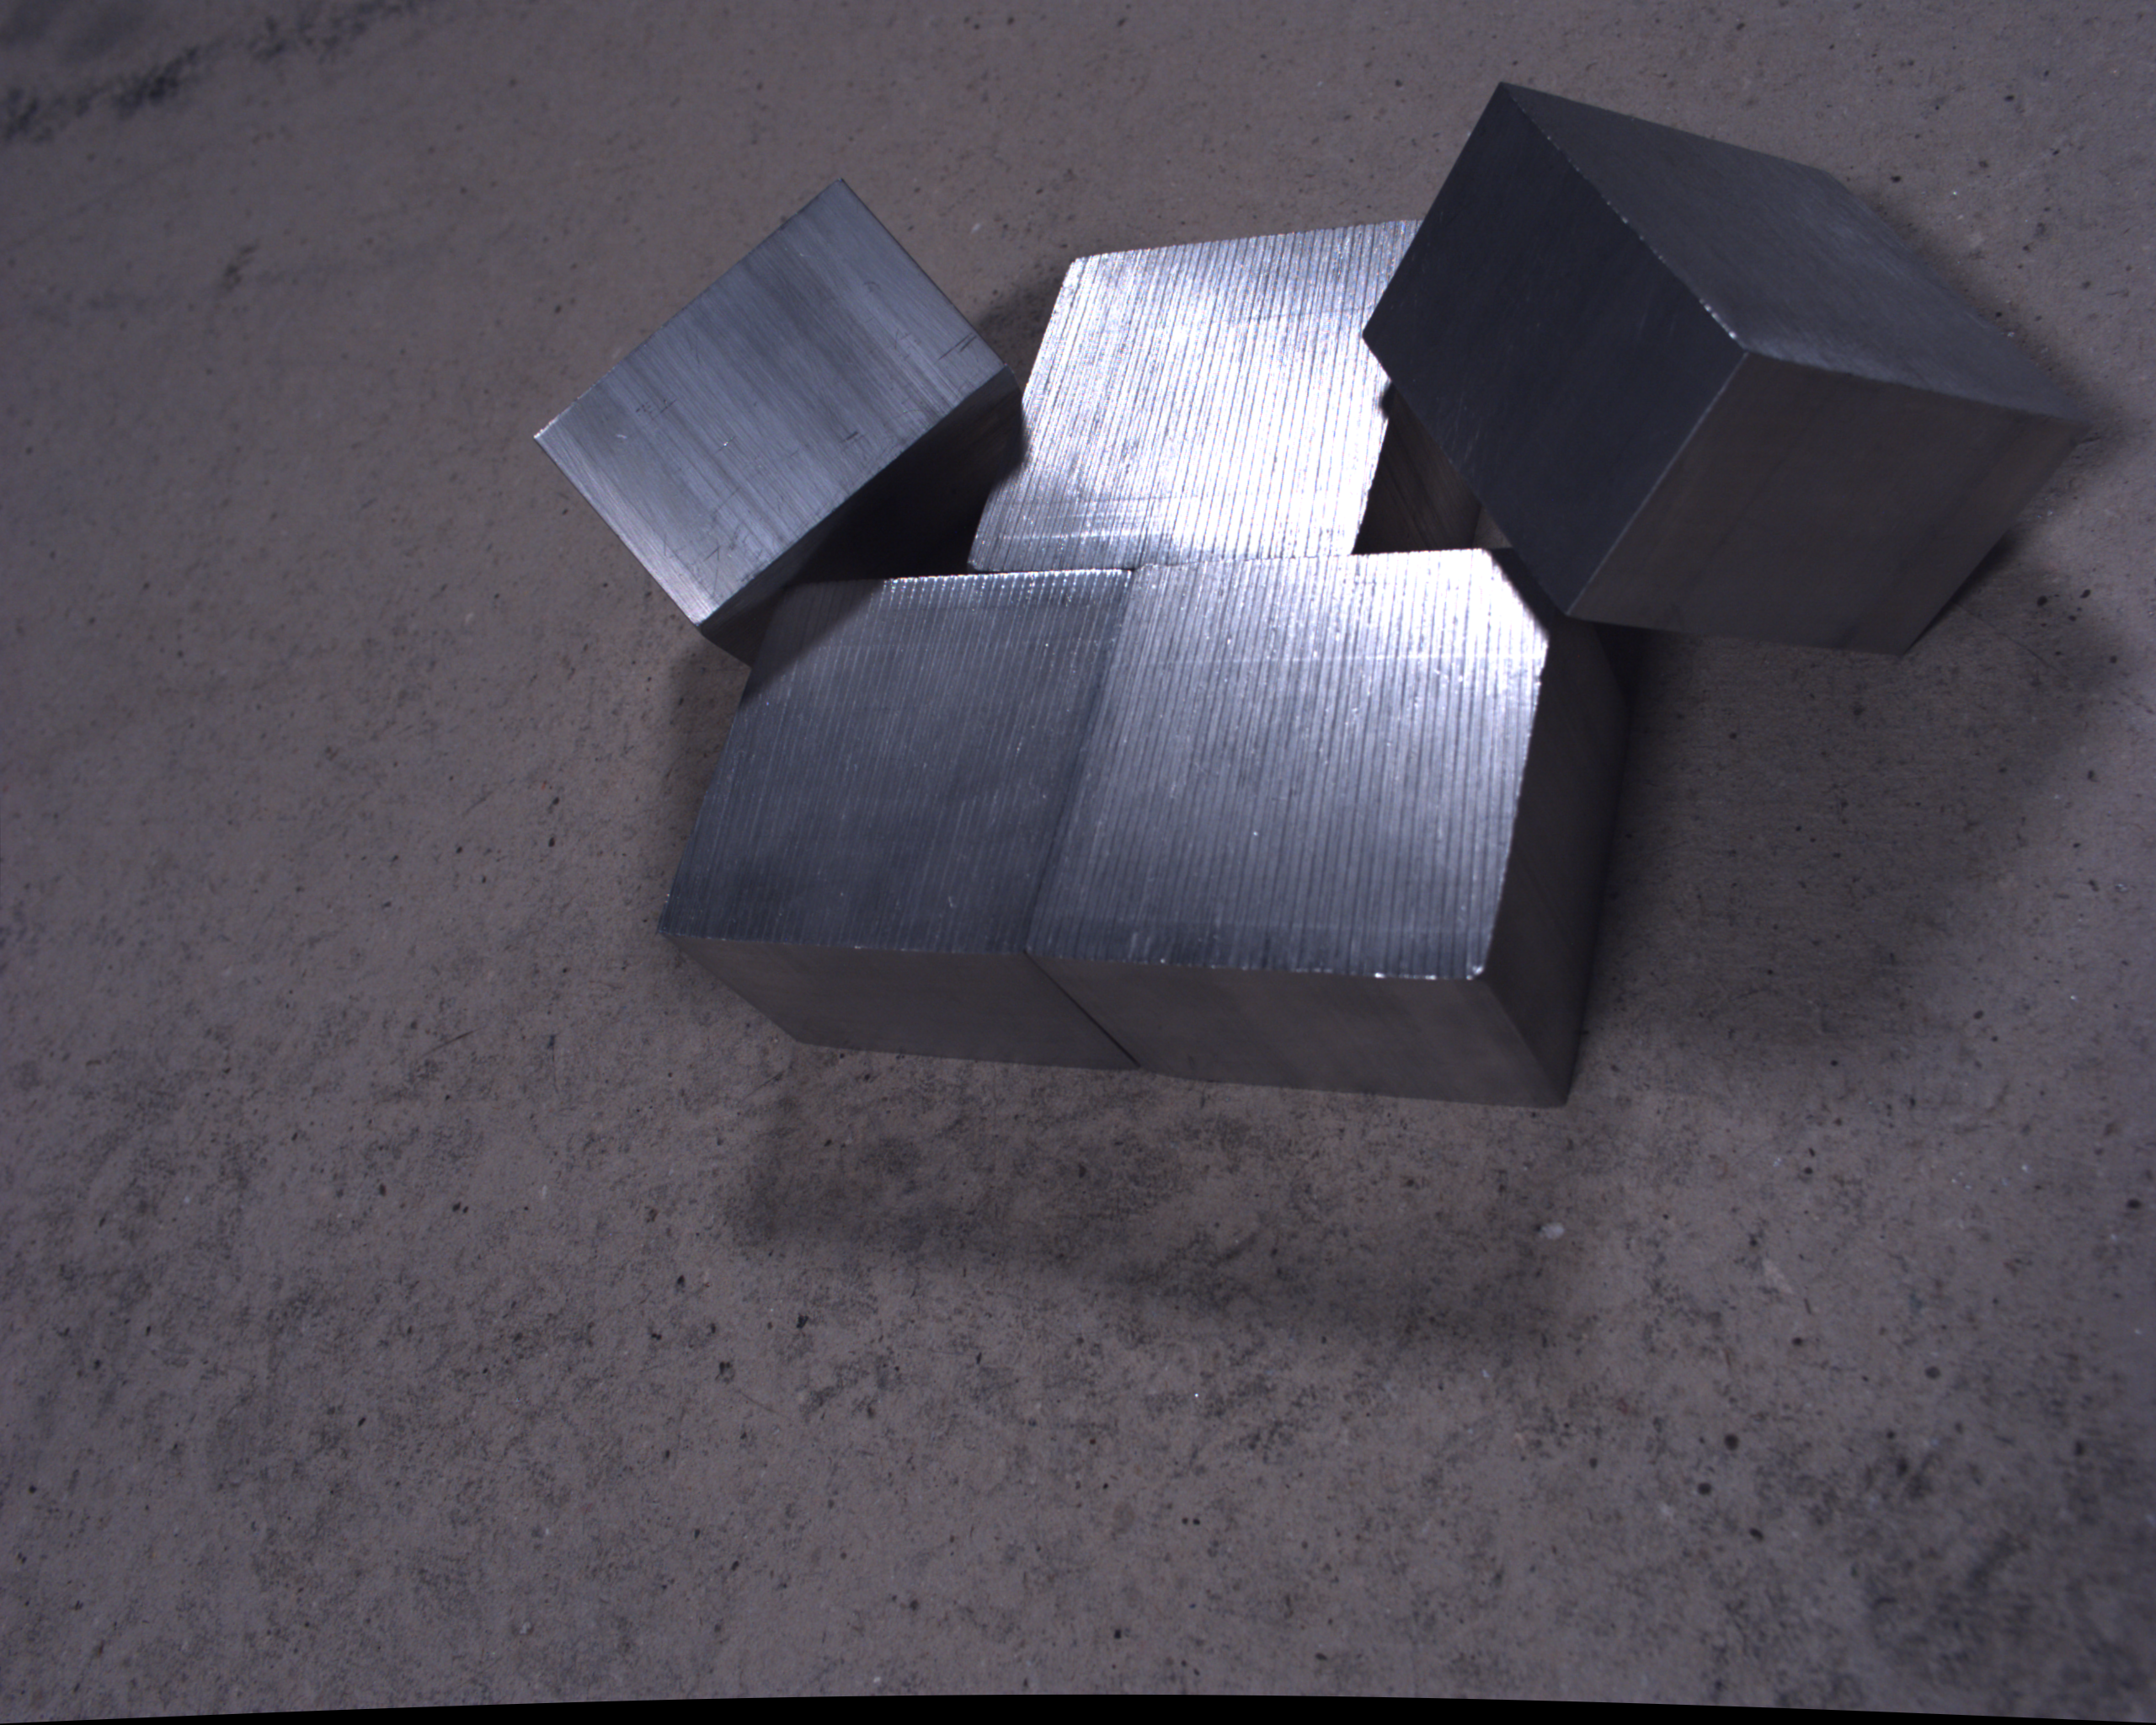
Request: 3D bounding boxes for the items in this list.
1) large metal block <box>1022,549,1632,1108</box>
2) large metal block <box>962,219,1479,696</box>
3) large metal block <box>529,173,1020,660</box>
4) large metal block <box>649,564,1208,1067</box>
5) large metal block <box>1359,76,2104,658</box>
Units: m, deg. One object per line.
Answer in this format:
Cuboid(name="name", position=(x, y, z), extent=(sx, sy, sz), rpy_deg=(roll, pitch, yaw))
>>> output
Cuboid(name="large metal block", position=(0.046, -0.007, 0.366), extent=(0.080, 0.050, 0.080), rpy_deg=(2, 62, 28))
Cuboid(name="large metal block", position=(0.034, -0.078, 0.419), extent=(0.080, 0.050, 0.080), rpy_deg=(3, 63, 29))
Cuboid(name="large metal block", position=(-0.058, -0.088, 0.443), extent=(0.080, 0.080, 0.050), rpy_deg=(-40, 86, 1))
Cuboid(name="large metal block", position=(-0.024, -0.009, 0.405), extent=(0.080, 0.050, 0.080), rpy_deg=(2, 62, 28))
Cuboid(name="large metal block", position=(0.108, -0.083, 0.356), extent=(0.050, 0.081, 0.080), rpy_deg=(-61, 39, 38))
